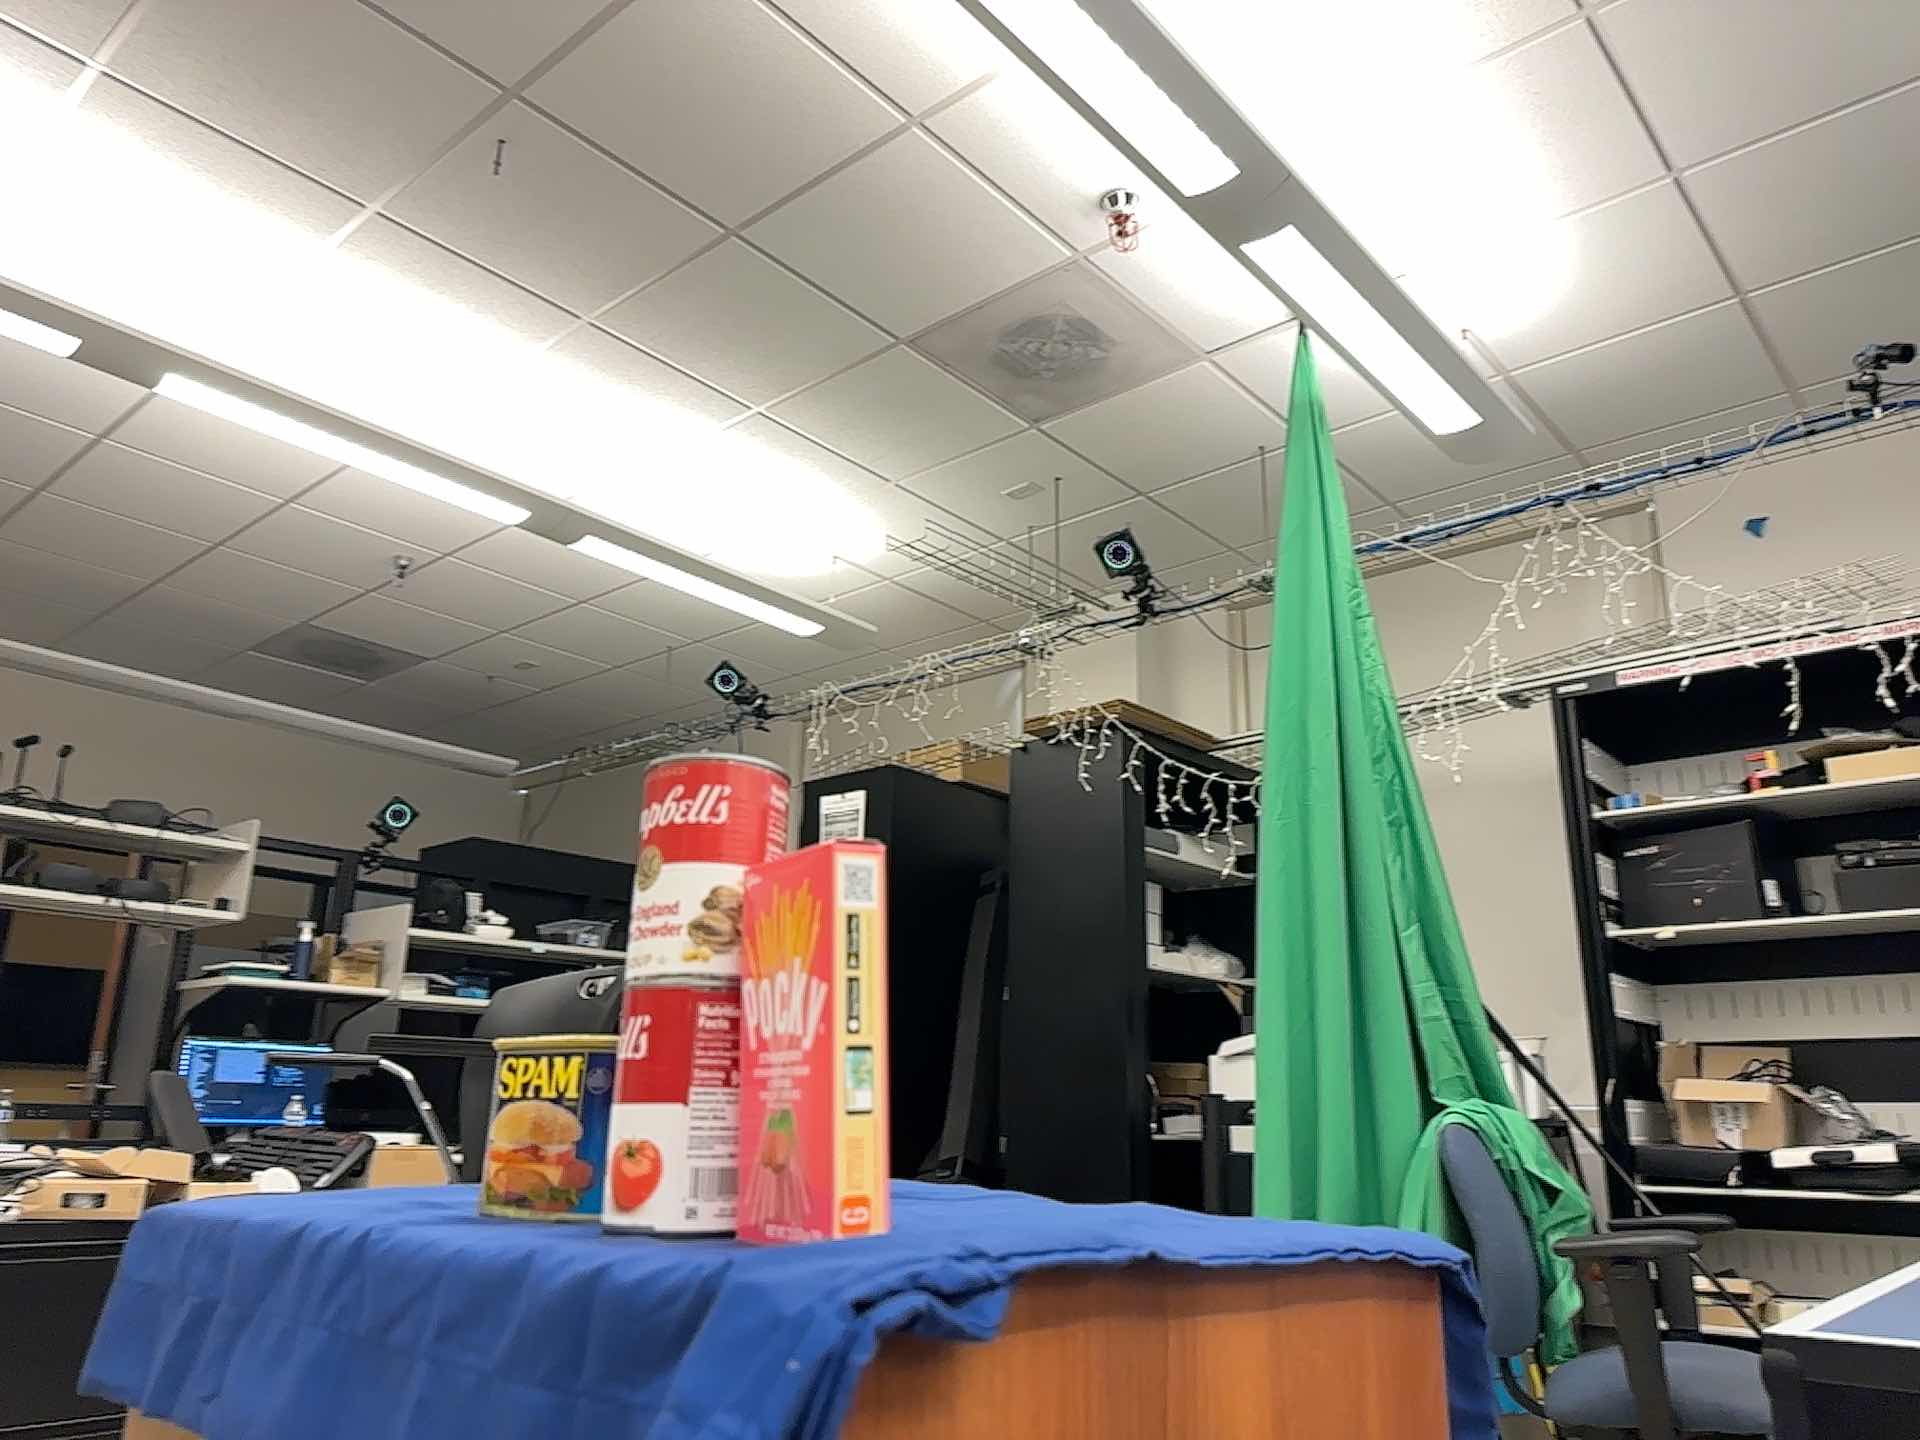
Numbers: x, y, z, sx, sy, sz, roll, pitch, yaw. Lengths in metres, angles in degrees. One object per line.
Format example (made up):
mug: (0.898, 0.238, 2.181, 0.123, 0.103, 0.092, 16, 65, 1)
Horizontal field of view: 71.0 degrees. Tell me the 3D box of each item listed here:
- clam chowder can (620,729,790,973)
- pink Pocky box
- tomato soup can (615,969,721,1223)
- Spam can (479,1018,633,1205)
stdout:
clam chowder can: (-0.115, 0.063, 0.612, 0.068, 0.102, 0.068, 2, -19, 1)
pink Pocky box: (-0.065, 0.124, 0.528, 0.029, 0.154, 0.084, 9, -18, -36)
tomato soup can: (-0.112, 0.163, 0.588, 0.067, 0.102, 0.067, 2, -16, 0)
Spam can: (-0.191, 0.192, 0.669, 0.100, 0.083, 0.056, -10, -19, 39)
